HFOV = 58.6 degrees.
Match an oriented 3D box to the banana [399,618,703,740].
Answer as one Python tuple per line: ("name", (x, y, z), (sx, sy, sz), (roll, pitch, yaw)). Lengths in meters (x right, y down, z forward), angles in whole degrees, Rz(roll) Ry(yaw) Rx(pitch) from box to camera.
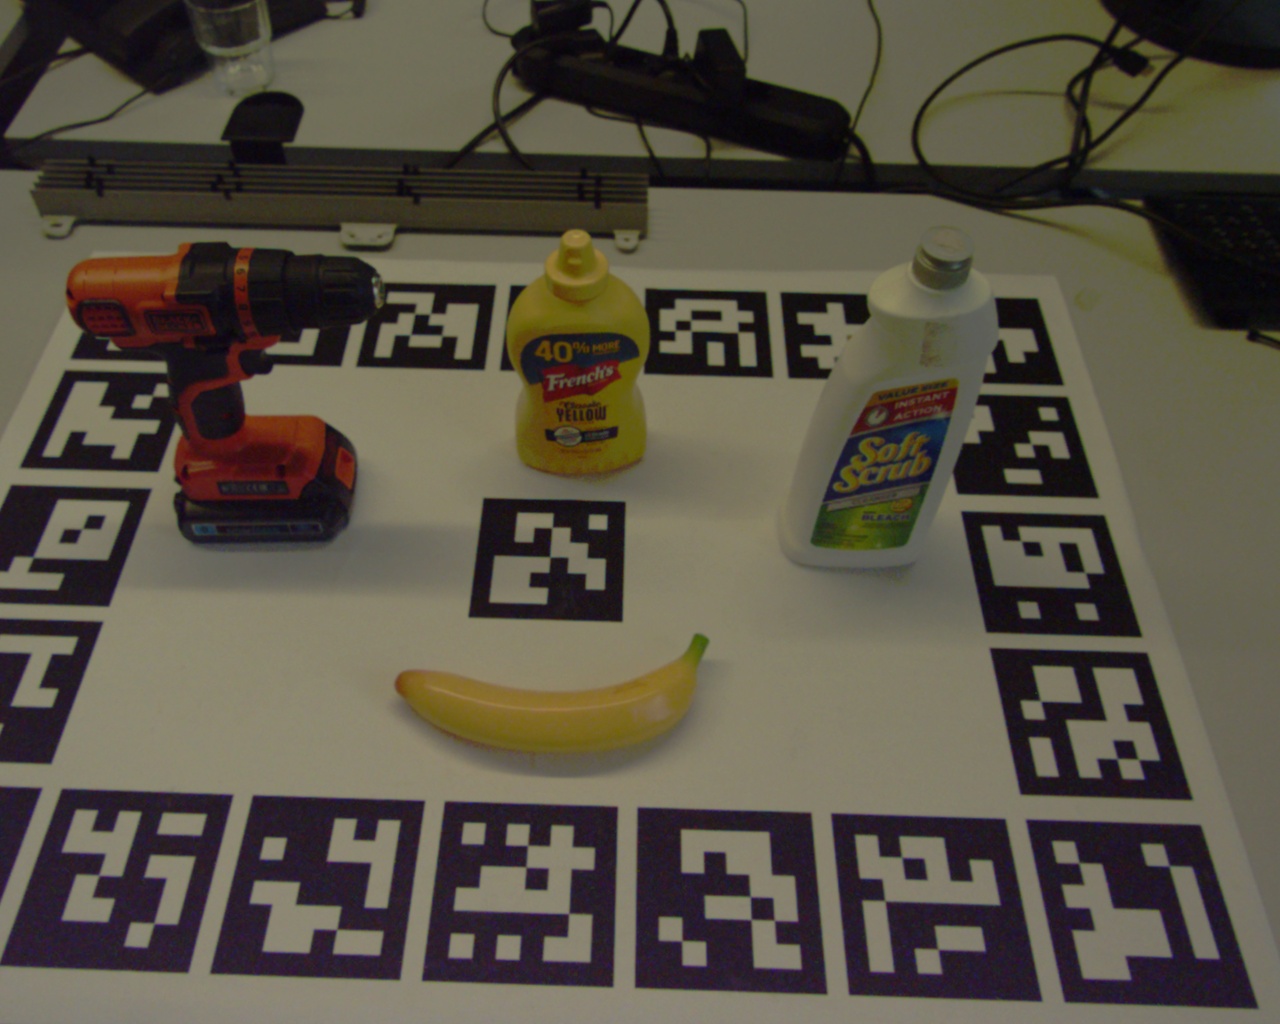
("banana", (-0.054, 0.109, 0.722), (0.197, 0.038, 0.074), (-4, 55, -1))

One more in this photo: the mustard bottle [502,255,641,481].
("mustard bottle", (-0.048, -0.101, 0.799), (0.096, 0.191, 0.059), (-4, 53, -7))

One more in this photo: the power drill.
("power drill", (-0.236, -0.086, 0.747), (0.184, 0.186, 0.057), (-5, 53, -1))

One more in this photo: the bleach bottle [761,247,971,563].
("bleach bottle", (0.144, -0.065, 0.735), (0.103, 0.250, 0.068), (8, 53, 4))
